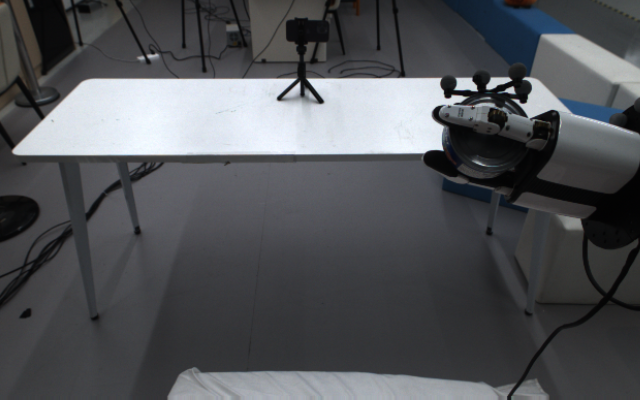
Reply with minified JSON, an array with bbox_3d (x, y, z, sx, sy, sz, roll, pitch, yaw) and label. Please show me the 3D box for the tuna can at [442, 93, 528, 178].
[{"bbox_3d":[0.176,-0.071,0.511,0.085,0.034,0.085,0,75,1],"label":"tuna can"}]
